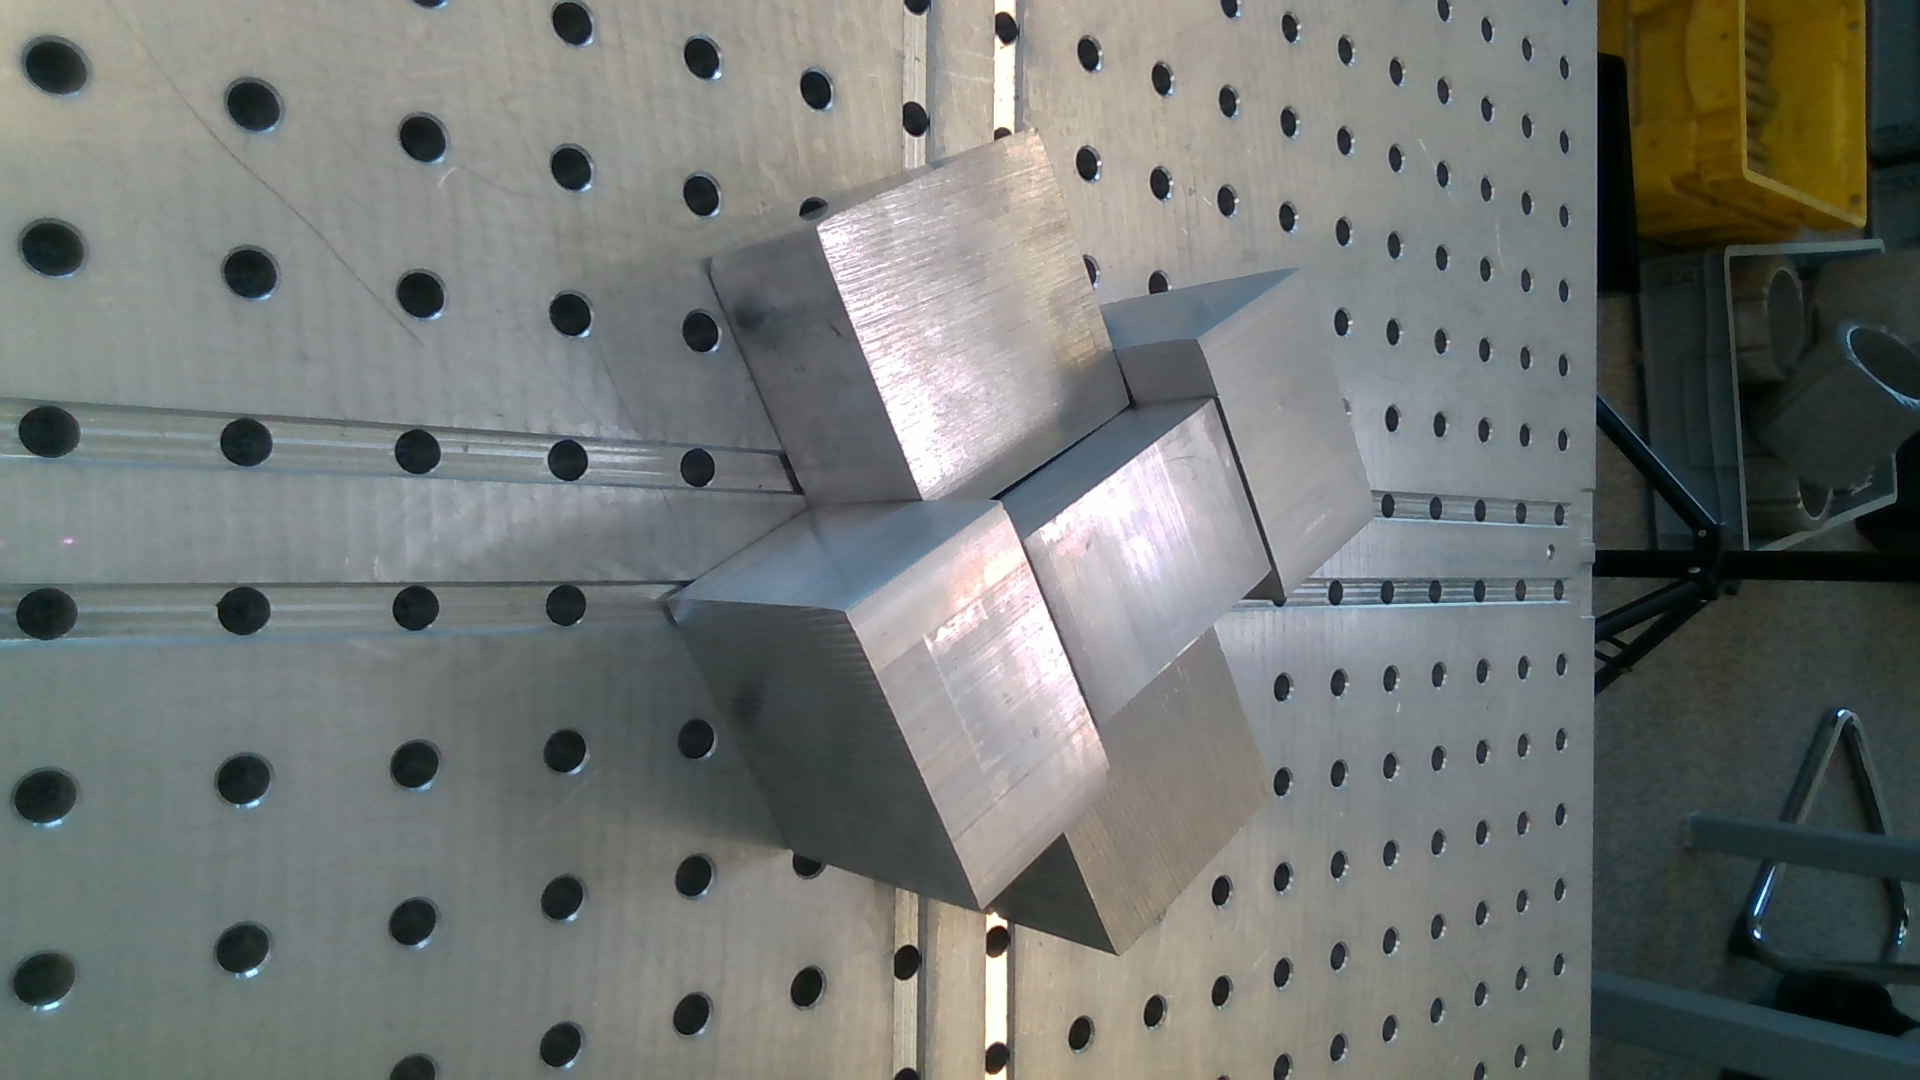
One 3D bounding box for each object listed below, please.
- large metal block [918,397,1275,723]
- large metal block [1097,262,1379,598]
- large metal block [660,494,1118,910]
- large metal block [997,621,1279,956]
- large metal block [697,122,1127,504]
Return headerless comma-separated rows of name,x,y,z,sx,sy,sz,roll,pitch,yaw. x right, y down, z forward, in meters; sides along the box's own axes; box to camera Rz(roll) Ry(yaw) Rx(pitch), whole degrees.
large metal block,0.025,0.003,0.379,0.080,0.080,0.050,-36,112,-34
large metal block,0.068,-0.031,0.414,0.050,0.080,0.080,-36,112,-35
large metal block,-0.018,0.036,0.343,0.050,0.080,0.080,-36,113,-35
large metal block,0.041,0.061,0.411,0.080,0.050,0.080,-35,112,-33
large metal block,-0.010,-0.056,0.370,0.080,0.050,0.080,-34,111,-36
